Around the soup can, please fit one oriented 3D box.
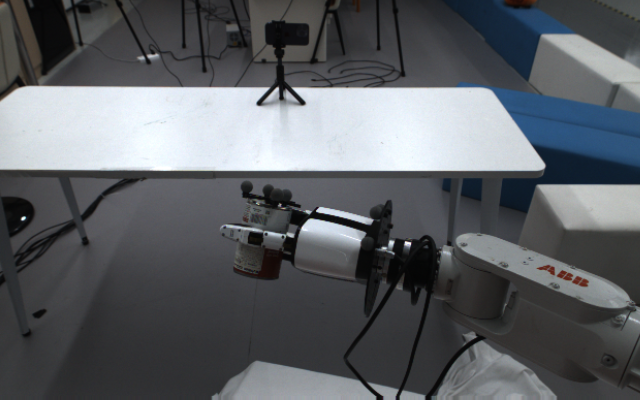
[{"bbox_3d":[-0.079,0.055,0.678,0.067,0.101,0.067,12,2,0],"label":"soup can"}]
